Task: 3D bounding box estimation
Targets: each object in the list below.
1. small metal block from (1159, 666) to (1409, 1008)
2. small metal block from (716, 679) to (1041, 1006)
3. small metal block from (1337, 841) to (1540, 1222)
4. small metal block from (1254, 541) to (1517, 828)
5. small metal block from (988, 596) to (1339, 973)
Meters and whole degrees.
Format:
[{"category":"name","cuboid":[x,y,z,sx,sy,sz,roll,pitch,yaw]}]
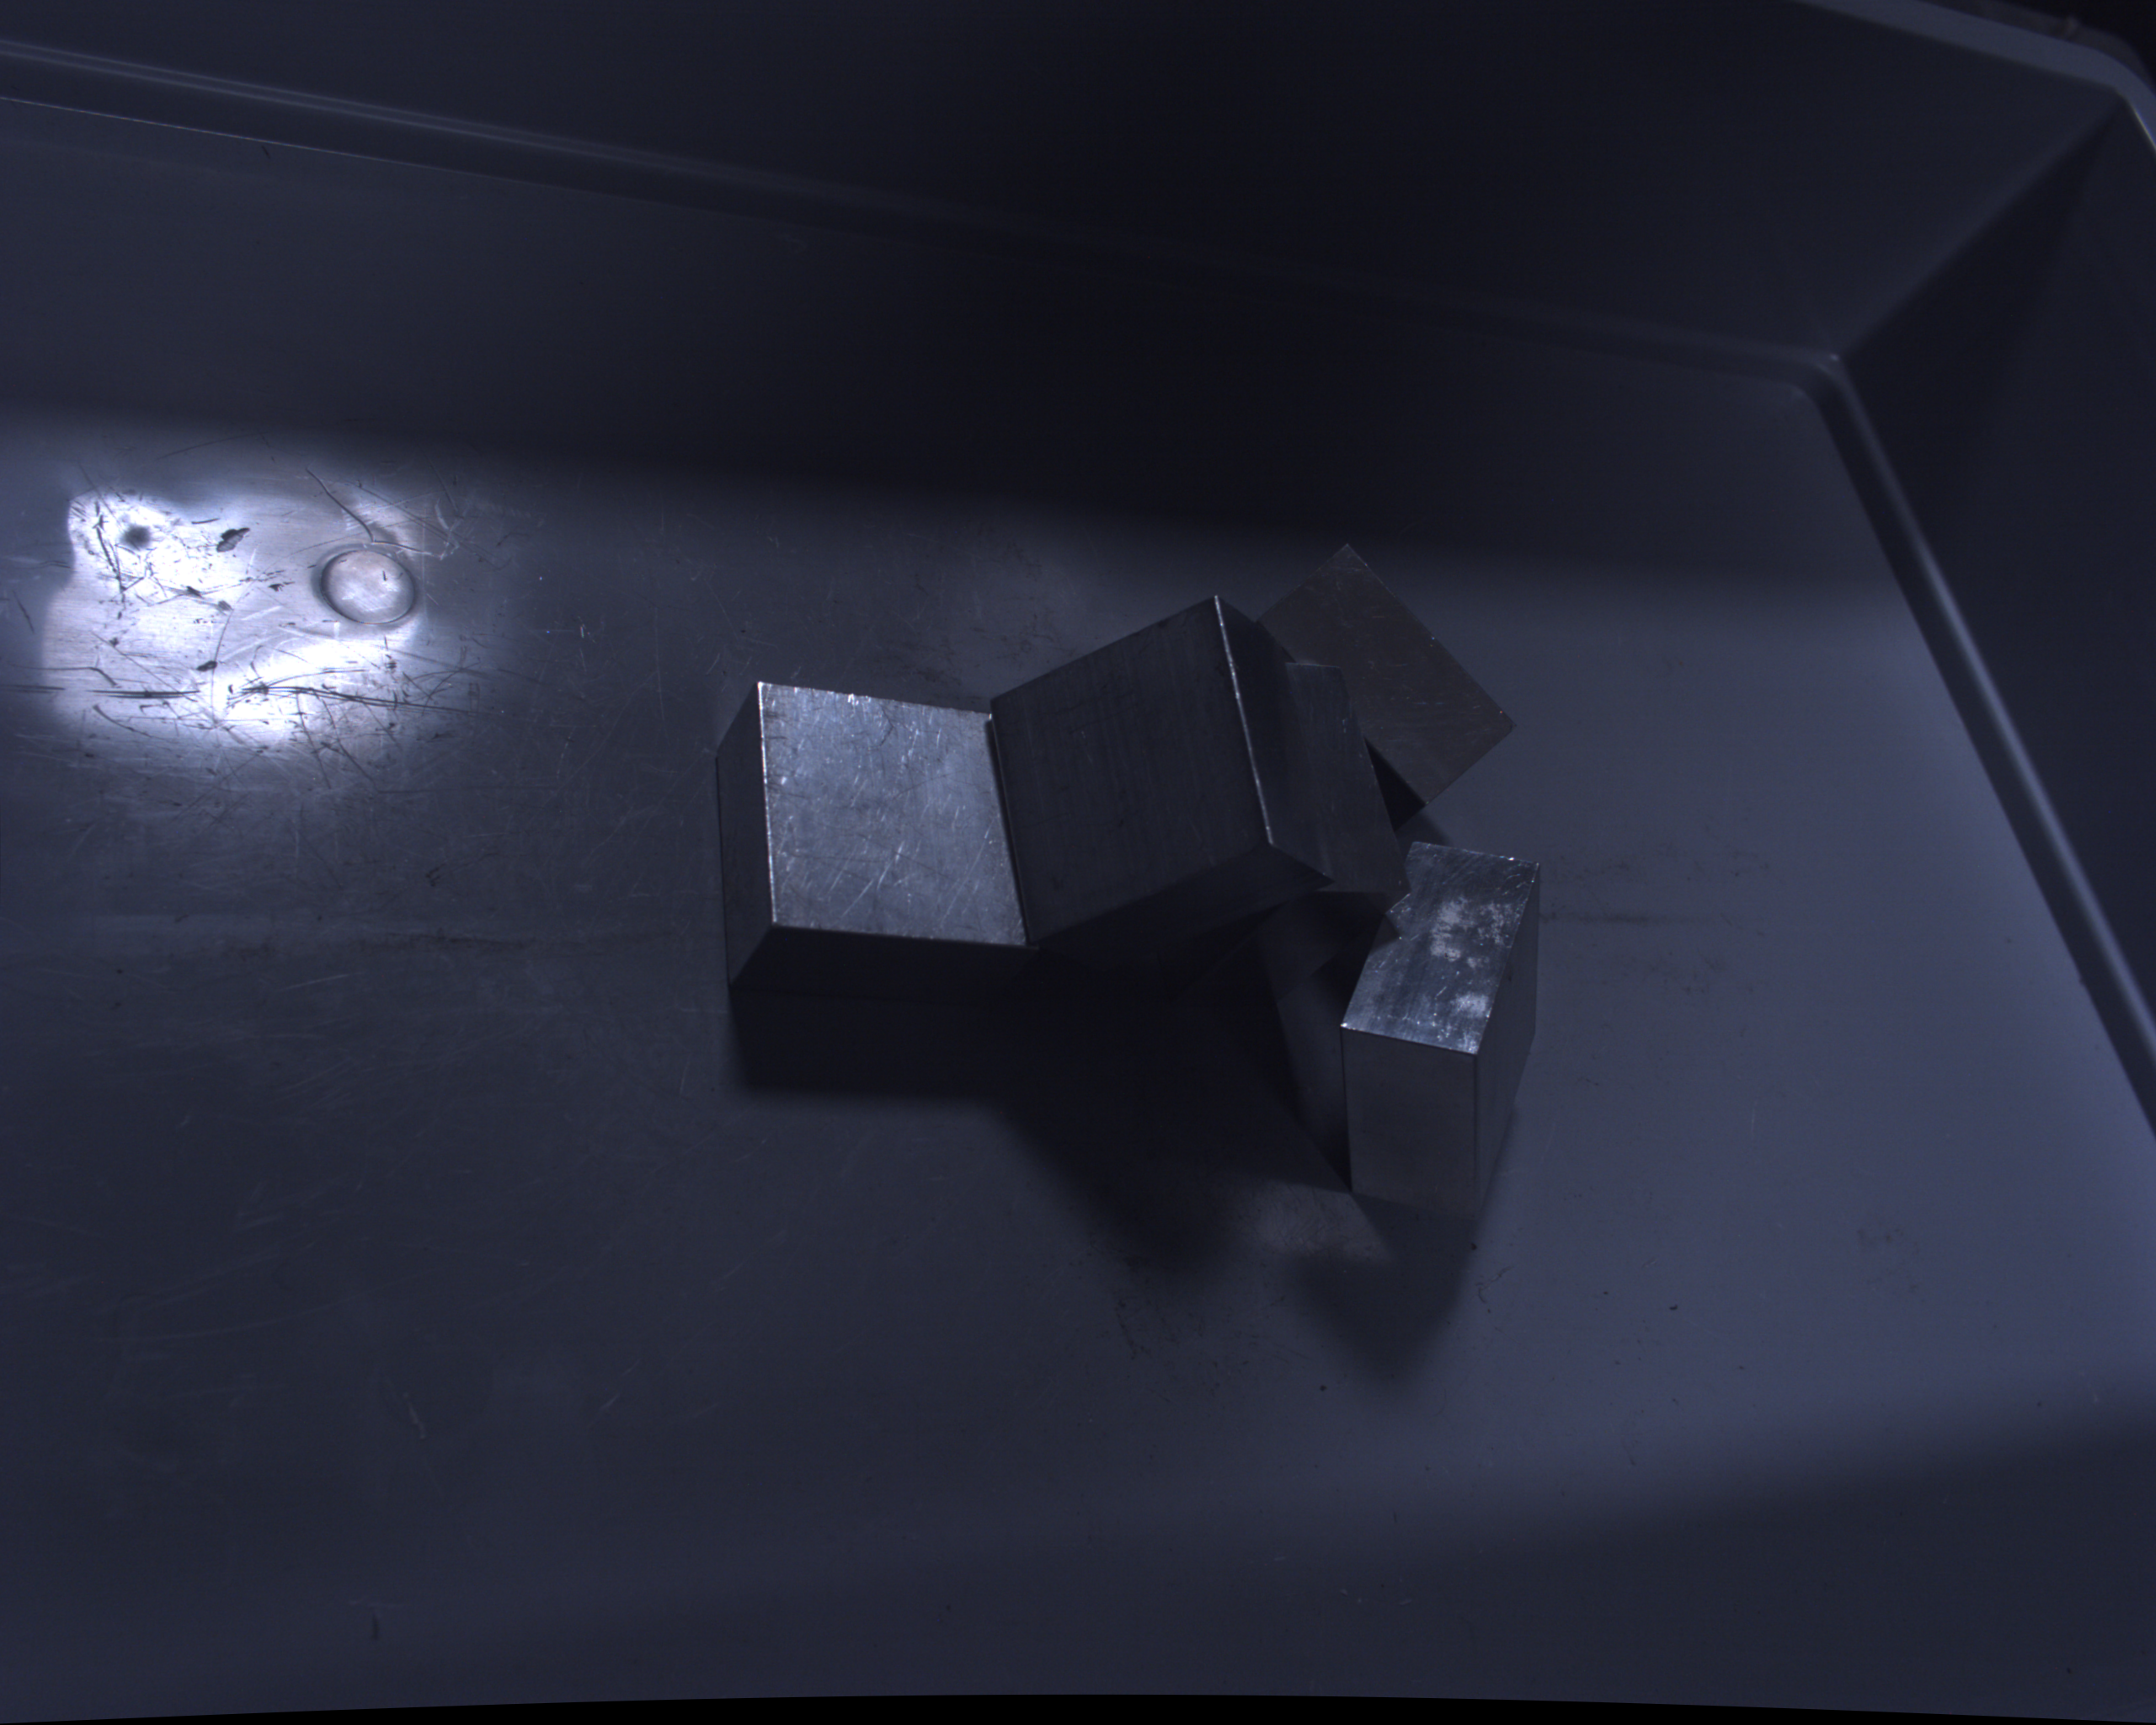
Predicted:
[{"category":"small metal block","cuboid":[0.034,-0.004,0.411,0.025,0.050,0.050,1,61,-28]},{"category":"small metal block","cuboid":[-0.038,-0.003,0.385,0.050,0.025,0.050,6,59,-25]},{"category":"small metal block","cuboid":[0.071,0.033,0.404,0.025,0.050,0.050,11,48,20]},{"category":"small metal block","cuboid":[0.060,-0.035,0.440,0.025,0.050,0.050,-41,85,-7]},{"category":"small metal block","cuboid":[0.015,-0.013,0.382,0.025,0.050,0.050,26,48,-54]}]
